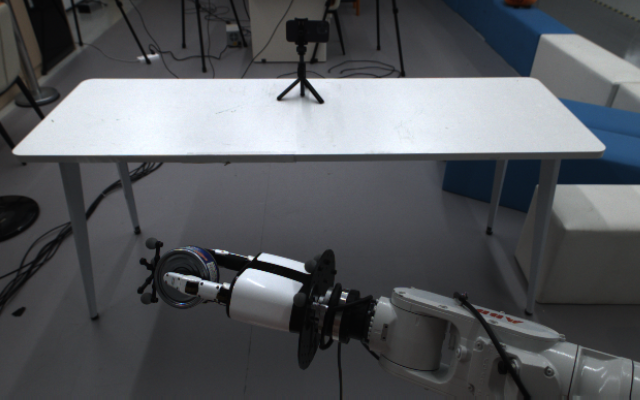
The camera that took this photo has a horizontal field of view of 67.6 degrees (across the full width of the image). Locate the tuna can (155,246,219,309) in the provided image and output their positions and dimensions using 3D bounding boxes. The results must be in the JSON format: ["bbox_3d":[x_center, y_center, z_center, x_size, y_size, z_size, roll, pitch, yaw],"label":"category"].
[{"bbox_3d":[-0.184,0.111,0.675,0.085,0.085,0.034,10,3,11],"label":"tuna can"}]
